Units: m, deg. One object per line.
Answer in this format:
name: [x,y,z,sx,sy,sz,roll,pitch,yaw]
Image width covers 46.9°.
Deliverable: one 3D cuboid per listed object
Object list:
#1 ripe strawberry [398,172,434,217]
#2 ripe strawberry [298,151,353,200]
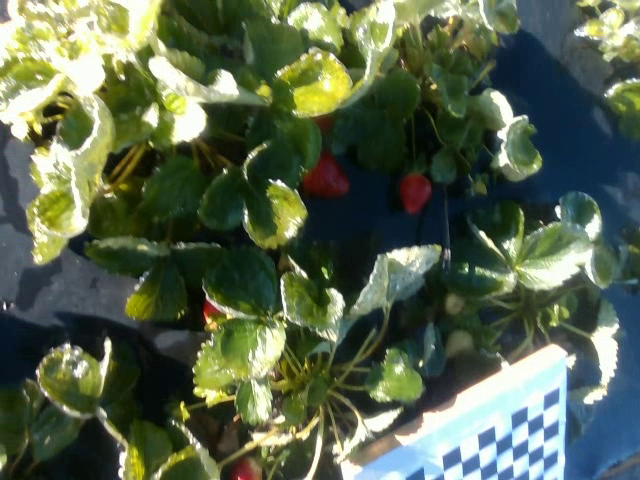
ripe strawberry: [0.092,-0.042,0.706,0.039,0.047,0.040,21,-9,-36]
ripe strawberry: [0.008,-0.054,0.665,0.056,0.044,0.040,34,-6,-35]
